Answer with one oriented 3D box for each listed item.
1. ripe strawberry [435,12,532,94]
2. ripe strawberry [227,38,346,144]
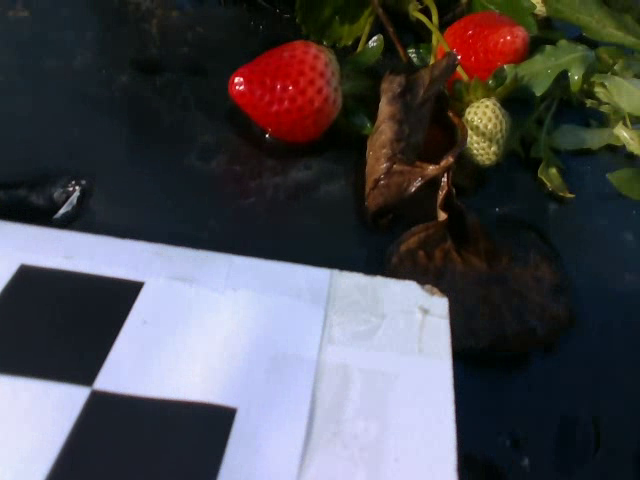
[{"bbox_3d":[0.067,-0.075,0.228,0.040,0.032,0.049,0,2,-11],"label":"ripe strawberry"},{"bbox_3d":[-0.011,-0.049,0.190,0.043,0.029,0.035,-15,49,-30],"label":"ripe strawberry"}]
